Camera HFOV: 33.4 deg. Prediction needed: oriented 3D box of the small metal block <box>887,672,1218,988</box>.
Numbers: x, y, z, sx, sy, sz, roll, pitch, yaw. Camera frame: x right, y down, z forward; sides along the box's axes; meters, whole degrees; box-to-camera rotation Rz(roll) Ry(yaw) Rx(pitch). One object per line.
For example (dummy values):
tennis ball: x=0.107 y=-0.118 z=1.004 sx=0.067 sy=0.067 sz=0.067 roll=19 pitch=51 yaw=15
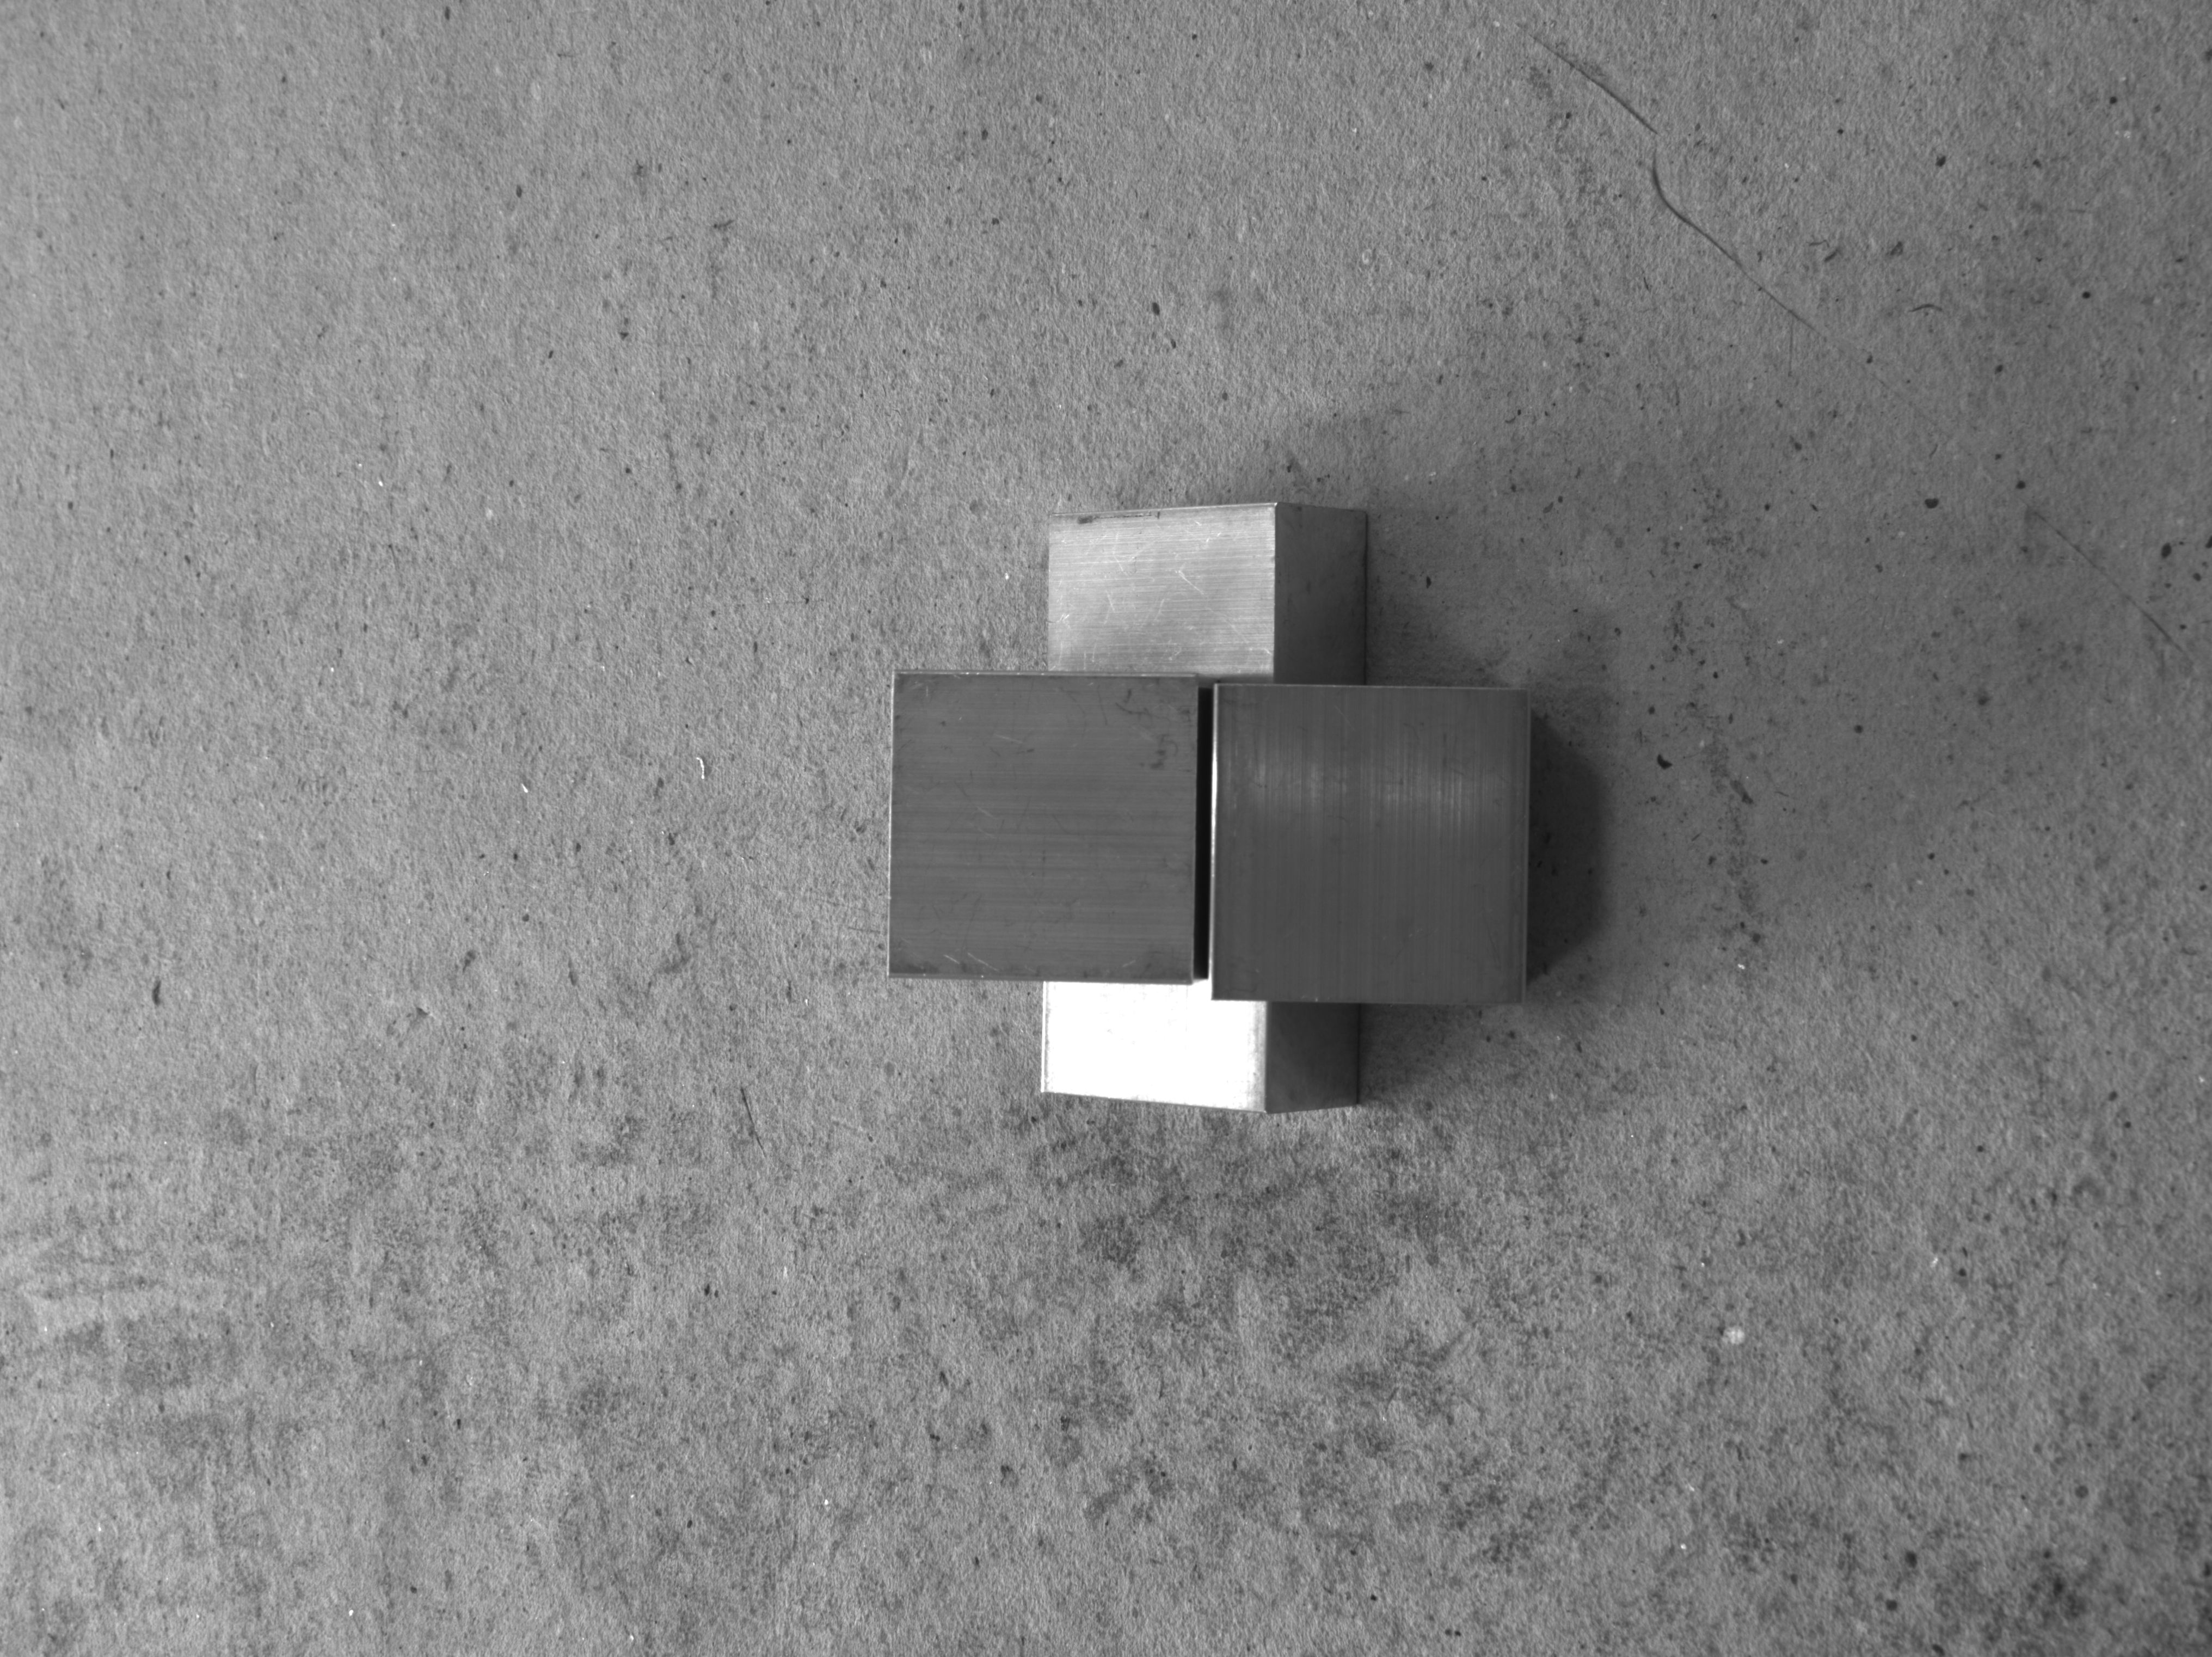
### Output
small metal block: x=-0.008 y=0.000 z=0.605 sx=0.050 sy=0.025 sz=0.050 roll=1 pitch=91 yaw=9

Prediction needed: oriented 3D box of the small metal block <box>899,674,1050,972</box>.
small metal block: x=-0.023 y=-0.001 z=0.647 sx=0.025 sy=0.050 sz=0.050 roll=0 pitch=91 yaw=-2

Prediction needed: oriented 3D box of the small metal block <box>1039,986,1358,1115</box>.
small metal block: x=0.016 y=0.022 z=0.632 sx=0.050 sy=0.025 sz=0.050 roll=1 pitch=91 yaw=40

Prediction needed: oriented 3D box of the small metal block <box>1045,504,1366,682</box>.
small metal block: x=0.017 y=-0.029 z=0.631 sx=0.050 sy=0.025 sz=0.050 roll=1 pitch=91 yaw=40

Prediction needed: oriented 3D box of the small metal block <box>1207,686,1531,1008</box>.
small metal block: x=0.042 y=0.003 z=0.594 sx=0.050 sy=0.025 sz=0.050 roll=1 pitch=91 yaw=0
